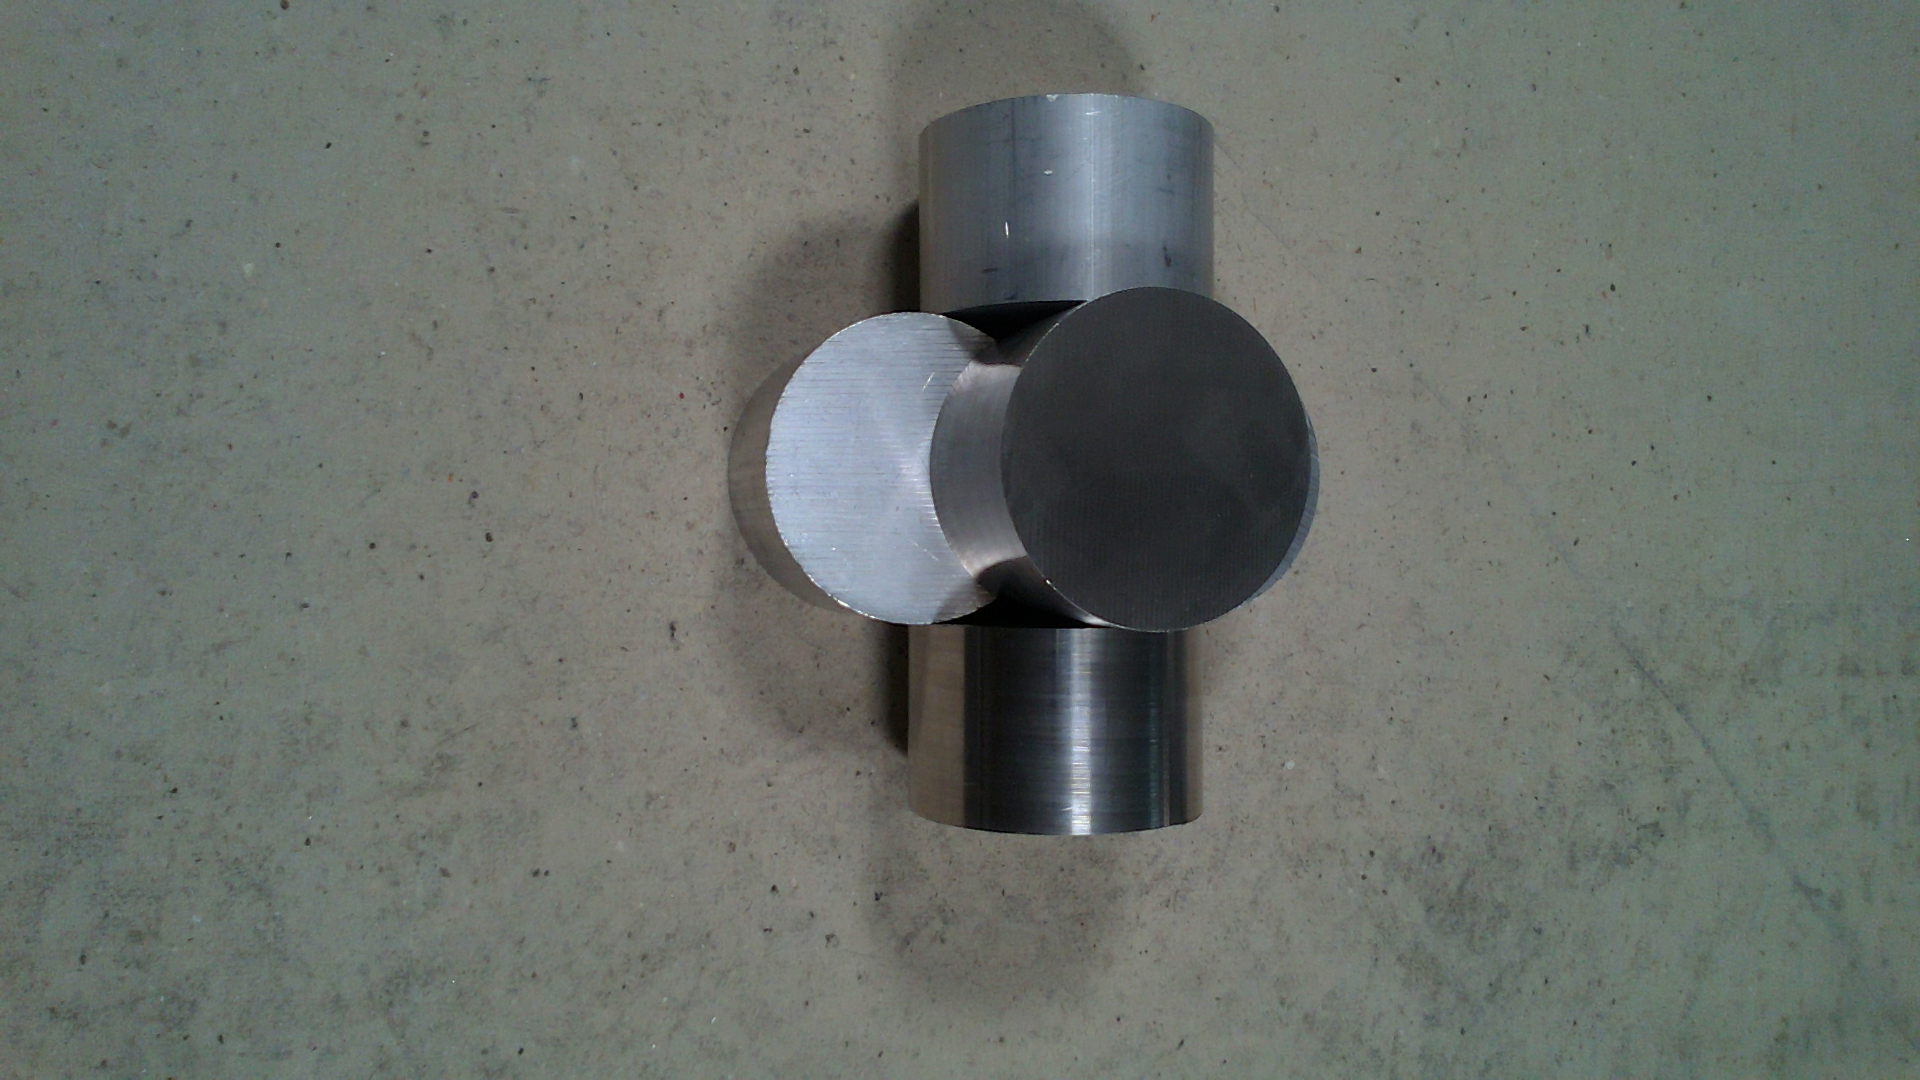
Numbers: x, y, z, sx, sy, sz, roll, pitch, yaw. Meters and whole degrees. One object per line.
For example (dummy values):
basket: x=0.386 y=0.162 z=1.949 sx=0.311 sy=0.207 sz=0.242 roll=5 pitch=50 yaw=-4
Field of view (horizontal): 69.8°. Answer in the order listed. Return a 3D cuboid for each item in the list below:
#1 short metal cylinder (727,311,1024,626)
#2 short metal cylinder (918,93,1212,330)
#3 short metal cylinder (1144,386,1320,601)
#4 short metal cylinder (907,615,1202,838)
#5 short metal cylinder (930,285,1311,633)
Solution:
short metal cylinder: x=-0.019 y=-0.018 z=0.373 sx=0.080 sy=0.050 sz=0.080 roll=0 pitch=90 yaw=-20
short metal cylinder: x=0.029 y=-0.084 z=0.375 sx=0.080 sy=0.080 sz=0.050 roll=0 pitch=90 yaw=-20
short metal cylinder: x=0.056 y=-0.019 z=0.401 sx=0.080 sy=0.050 sz=0.080 roll=0 pitch=90 yaw=-20
short metal cylinder: x=0.025 y=0.047 z=0.374 sx=0.080 sy=0.080 sz=0.050 roll=0 pitch=90 yaw=-20
short metal cylinder: x=0.038 y=-0.019 z=0.340 sx=0.080 sy=0.050 sz=0.080 roll=0 pitch=90 yaw=-20
